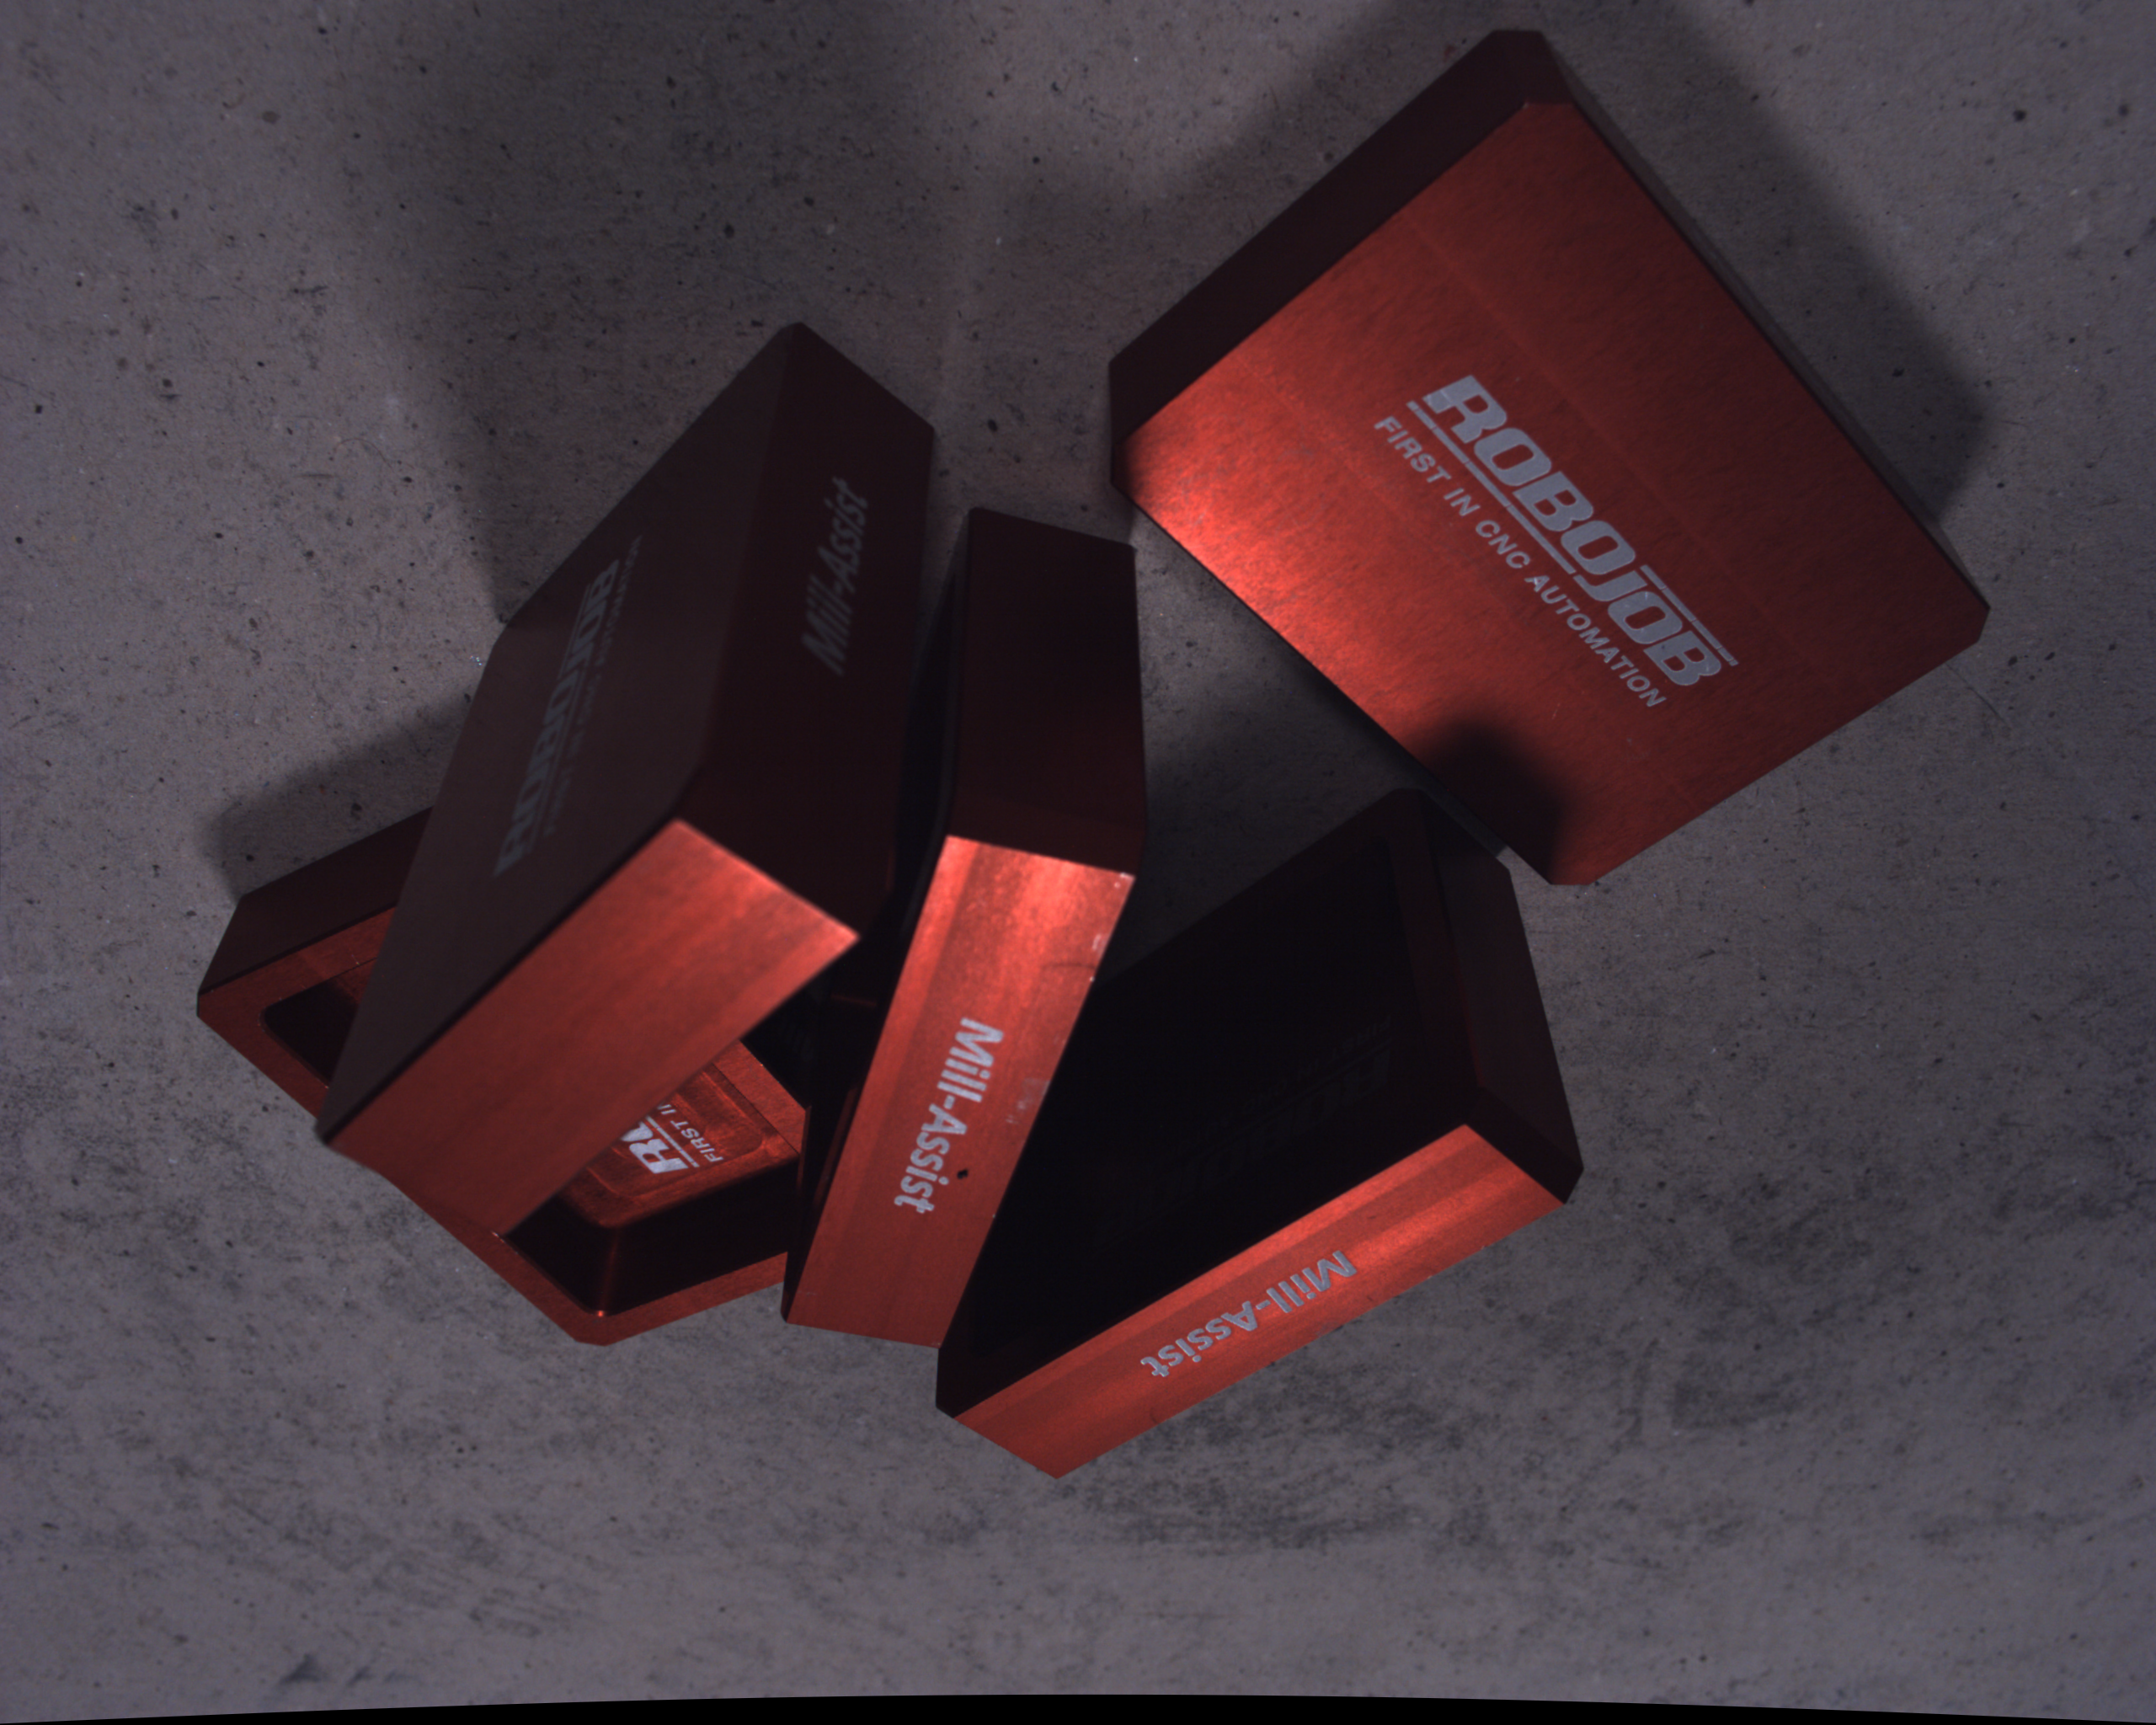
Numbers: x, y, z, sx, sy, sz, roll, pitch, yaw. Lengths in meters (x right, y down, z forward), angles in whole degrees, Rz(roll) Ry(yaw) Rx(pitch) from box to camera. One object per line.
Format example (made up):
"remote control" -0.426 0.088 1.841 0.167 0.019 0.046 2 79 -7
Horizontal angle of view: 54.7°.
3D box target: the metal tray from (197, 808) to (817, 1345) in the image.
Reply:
"metal tray" -0.105 0.044 0.442 0.090 0.030 0.130 -23 127 18

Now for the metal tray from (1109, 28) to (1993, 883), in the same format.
"metal tray" 0.080 -0.061 0.354 0.090 0.030 0.130 -37 122 26

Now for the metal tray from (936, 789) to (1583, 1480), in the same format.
"metal tray" 0.030 0.053 0.412 0.130 0.090 0.030 -36 122 26

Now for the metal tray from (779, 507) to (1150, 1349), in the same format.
"metal tray" -0.022 0.014 0.377 0.030 0.090 0.129 13 129 -11

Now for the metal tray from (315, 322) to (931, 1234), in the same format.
"metal tray" -0.066 -0.018 0.324 0.030 0.130 0.090 36 121 -27
